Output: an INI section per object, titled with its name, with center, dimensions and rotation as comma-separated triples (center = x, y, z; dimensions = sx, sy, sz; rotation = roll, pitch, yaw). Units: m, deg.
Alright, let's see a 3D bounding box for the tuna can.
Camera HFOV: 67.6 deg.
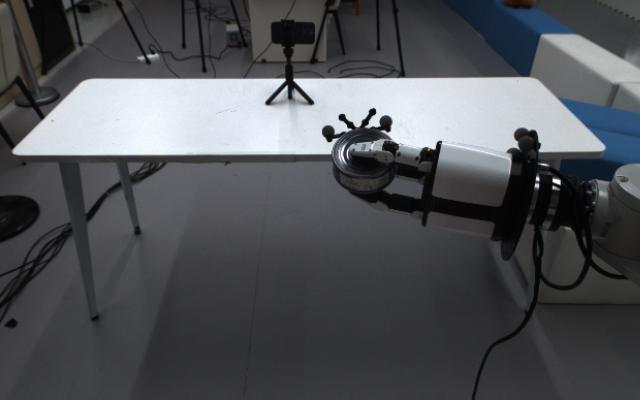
[tuna can]
center = 0.063, -0.046, 0.629
dimensions = 0.085, 0.034, 0.085
rotation = -3, 59, 5
